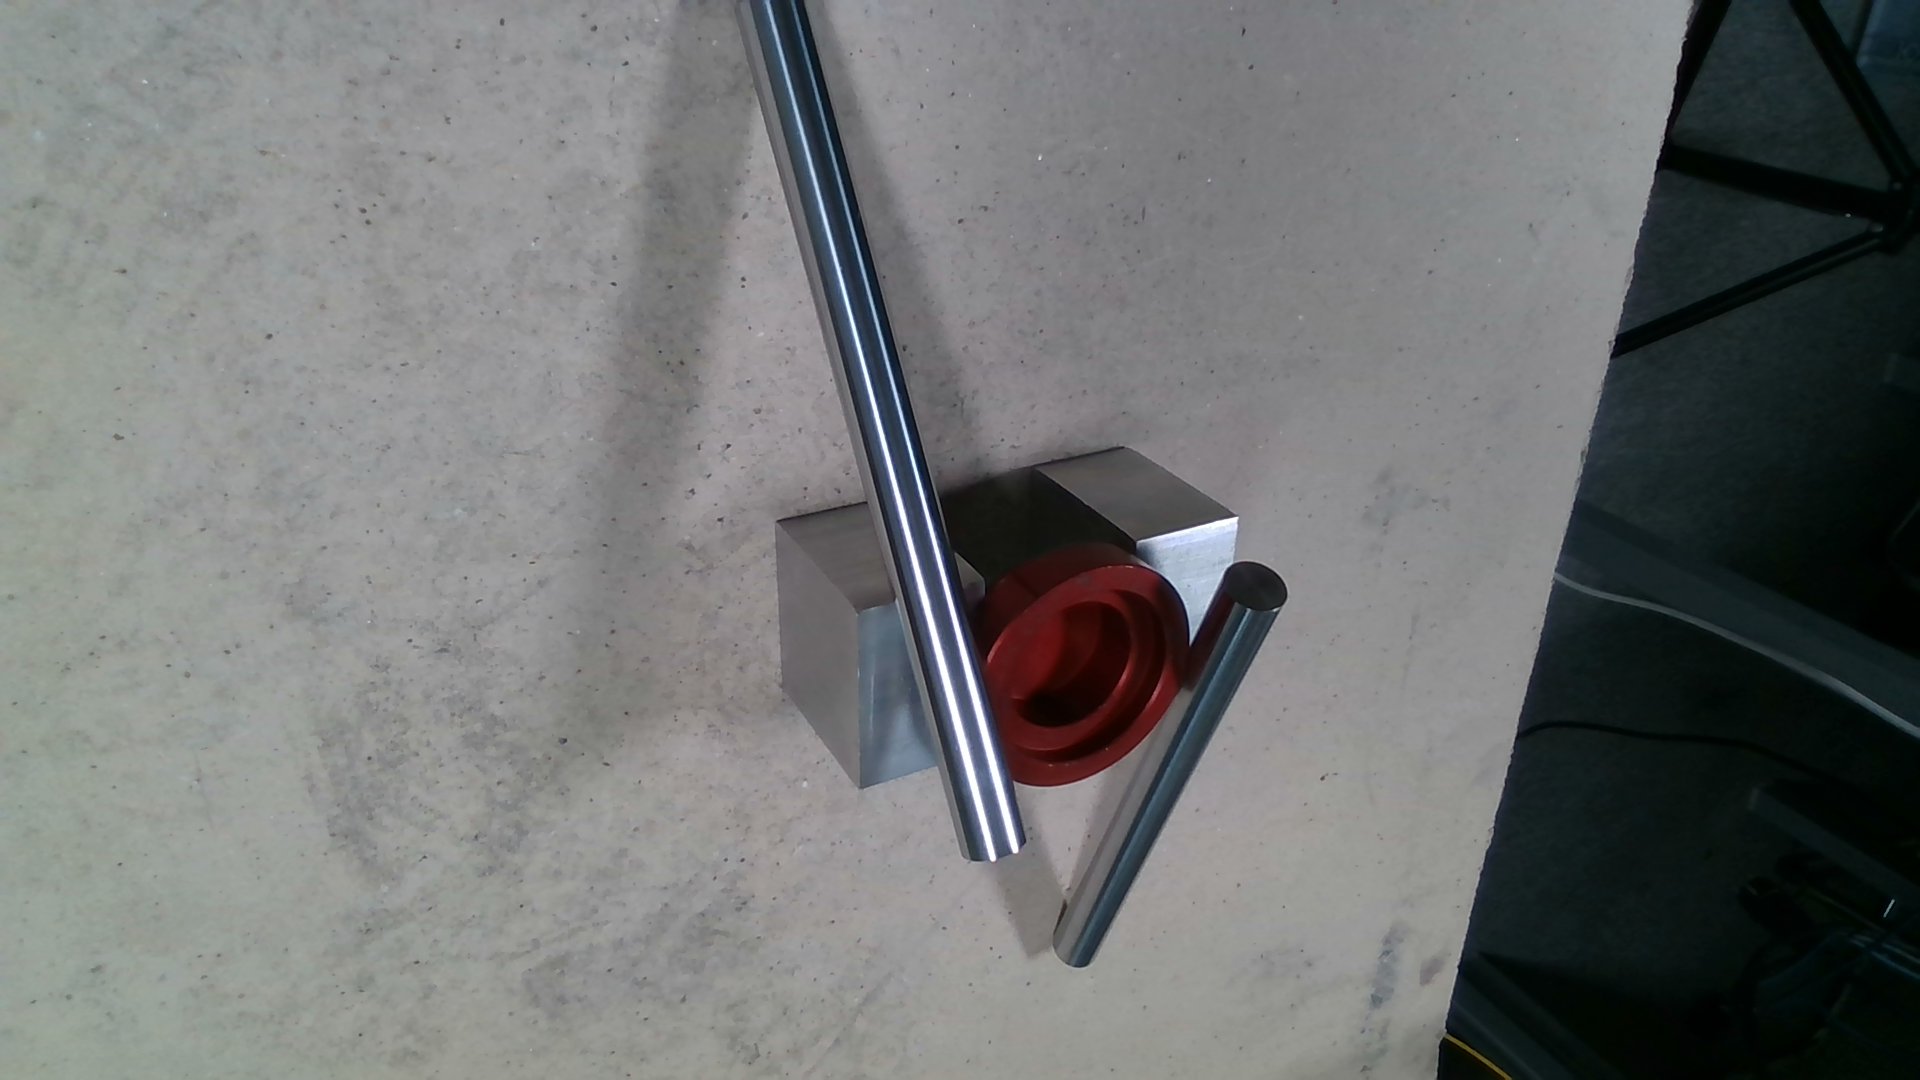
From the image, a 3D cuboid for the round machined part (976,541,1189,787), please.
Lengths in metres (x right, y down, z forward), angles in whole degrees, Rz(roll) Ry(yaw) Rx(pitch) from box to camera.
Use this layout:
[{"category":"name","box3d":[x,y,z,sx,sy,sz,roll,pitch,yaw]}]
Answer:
[{"category":"round machined part","box3d":[0.038,0.044,0.542,0.098,0.042,0.098,-14,122,-25]}]

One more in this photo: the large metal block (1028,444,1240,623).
[{"category":"large metal block","box3d":[0.072,0.014,0.597,0.050,0.080,0.080,-13,121,-25]}]

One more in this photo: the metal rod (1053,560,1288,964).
[{"category":"metal rod","box3d":[0.086,0.116,0.628,0.025,0.025,0.301,-15,144,-24]}]

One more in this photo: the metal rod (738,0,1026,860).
[{"category":"metal rod","box3d":[-0.025,-0.033,0.477,0.025,0.025,0.300,-18,100,-23]}]

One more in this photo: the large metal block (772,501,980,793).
[{"category":"large metal block","box3d":[-0.034,0.039,0.545,0.050,0.080,0.080,-13,121,-25]}]
